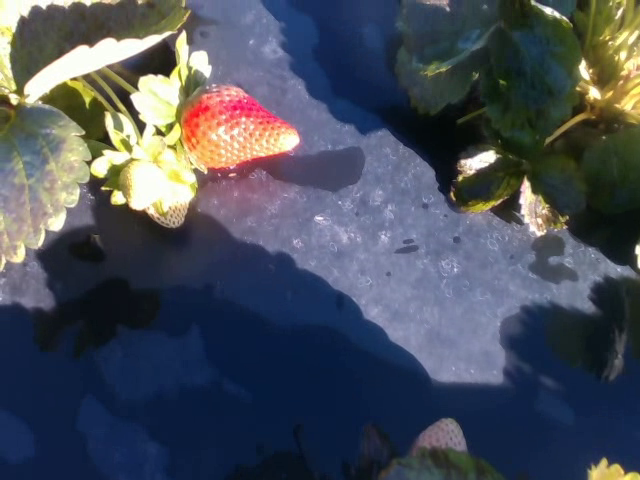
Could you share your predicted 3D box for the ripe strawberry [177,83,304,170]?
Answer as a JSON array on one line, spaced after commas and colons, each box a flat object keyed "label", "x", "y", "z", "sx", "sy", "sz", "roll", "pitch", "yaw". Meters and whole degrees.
[{"label": "ripe strawberry", "x": -0.037, "y": -0.052, "z": 0.289, "sx": 0.064, "sy": 0.050, "sz": 0.052, "roll": 10, "pitch": 13, "yaw": 6}]
